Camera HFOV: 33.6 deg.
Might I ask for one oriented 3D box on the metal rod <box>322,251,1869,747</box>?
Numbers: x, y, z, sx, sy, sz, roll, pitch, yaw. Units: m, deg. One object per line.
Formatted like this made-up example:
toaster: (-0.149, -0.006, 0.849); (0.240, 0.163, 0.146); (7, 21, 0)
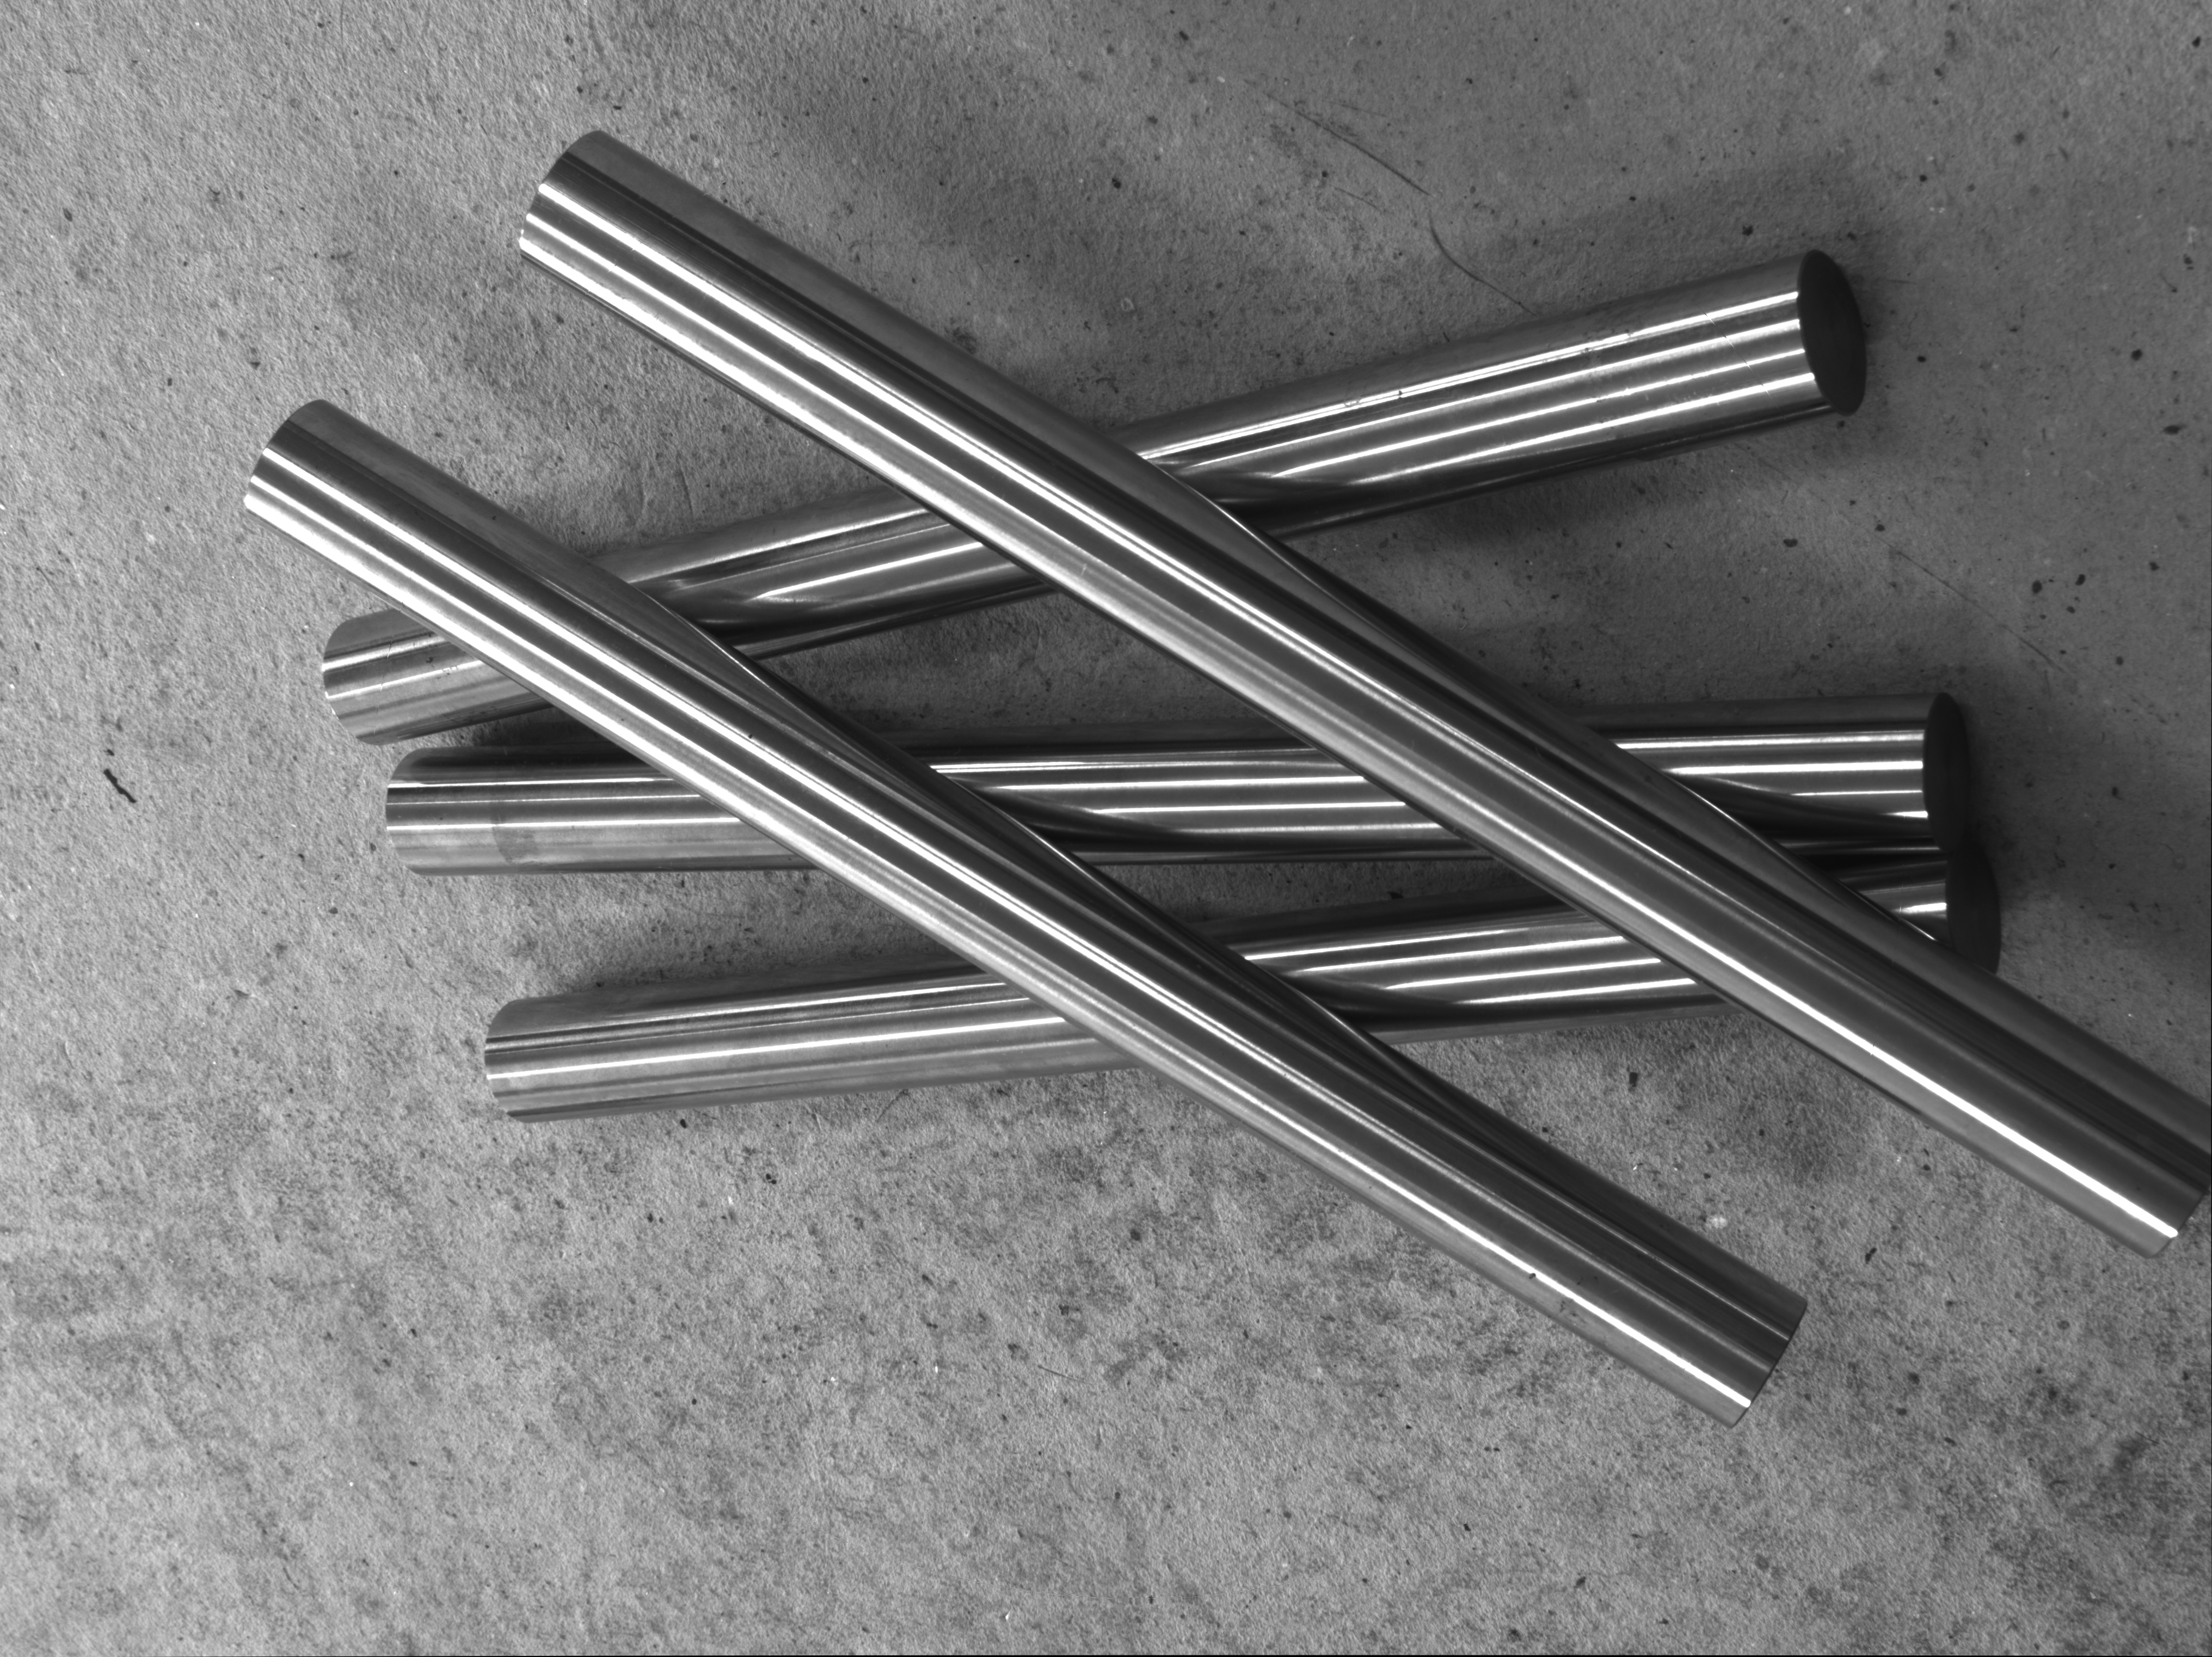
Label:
metal rod: (-0.017, -0.050, 0.621); (0.299, 0.025, 0.025); (-10, 113, 32)

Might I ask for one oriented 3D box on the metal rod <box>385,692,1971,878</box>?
metal rod: (-0.001, -0.006, 0.639); (0.299, 0.025, 0.025); (-1, 118, 29)

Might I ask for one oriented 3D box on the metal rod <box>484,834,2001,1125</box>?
metal rod: (0.010, 0.030, 0.655); (0.299, 0.025, 0.025); (-8, 114, 31)

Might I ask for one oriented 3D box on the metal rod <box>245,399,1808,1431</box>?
metal rod: (-0.017, 0.012, 0.627); (0.300, 0.025, 0.025); (31, 128, 8)

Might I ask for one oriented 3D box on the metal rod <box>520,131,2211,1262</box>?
metal rod: (0.038, -0.024, 0.575); (0.300, 0.025, 0.025); (32, 129, 7)
